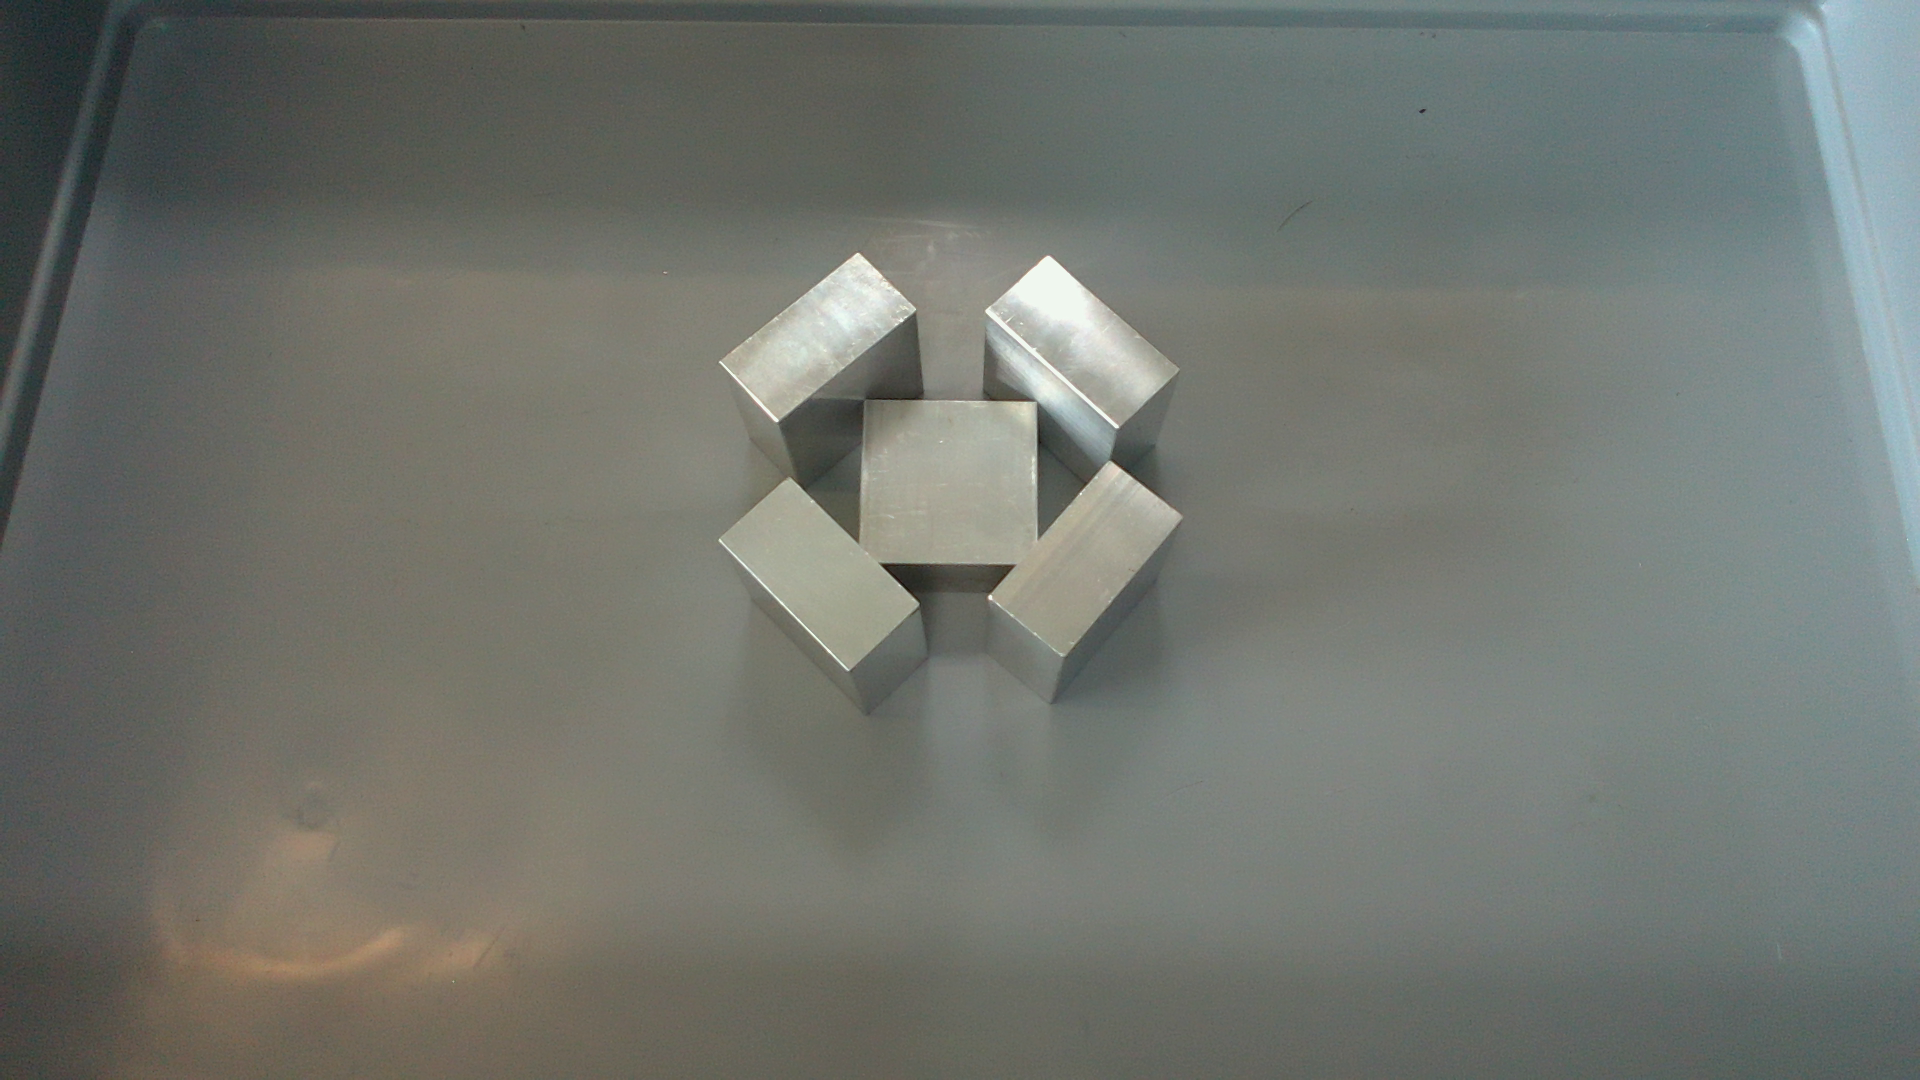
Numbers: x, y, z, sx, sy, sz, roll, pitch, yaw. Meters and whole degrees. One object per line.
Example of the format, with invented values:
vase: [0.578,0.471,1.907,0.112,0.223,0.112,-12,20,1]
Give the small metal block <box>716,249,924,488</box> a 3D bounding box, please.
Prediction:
small metal block: [-0.038,-0.048,0.397,0.050,0.050,0.025,-40,74,-13]

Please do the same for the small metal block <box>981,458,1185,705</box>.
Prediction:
small metal block: [0.032,0.012,0.375,0.025,0.050,0.050,39,74,12]

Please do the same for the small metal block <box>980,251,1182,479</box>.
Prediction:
small metal block: [0.033,-0.047,0.396,0.025,0.050,0.050,-43,76,-15]

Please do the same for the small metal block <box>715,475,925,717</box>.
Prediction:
small metal block: [-0.036,0.016,0.374,0.025,0.050,0.050,-43,75,-13]

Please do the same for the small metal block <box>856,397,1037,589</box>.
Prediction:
small metal block: [-0.003,-0.013,0.398,0.050,0.025,0.050,1,70,0]
